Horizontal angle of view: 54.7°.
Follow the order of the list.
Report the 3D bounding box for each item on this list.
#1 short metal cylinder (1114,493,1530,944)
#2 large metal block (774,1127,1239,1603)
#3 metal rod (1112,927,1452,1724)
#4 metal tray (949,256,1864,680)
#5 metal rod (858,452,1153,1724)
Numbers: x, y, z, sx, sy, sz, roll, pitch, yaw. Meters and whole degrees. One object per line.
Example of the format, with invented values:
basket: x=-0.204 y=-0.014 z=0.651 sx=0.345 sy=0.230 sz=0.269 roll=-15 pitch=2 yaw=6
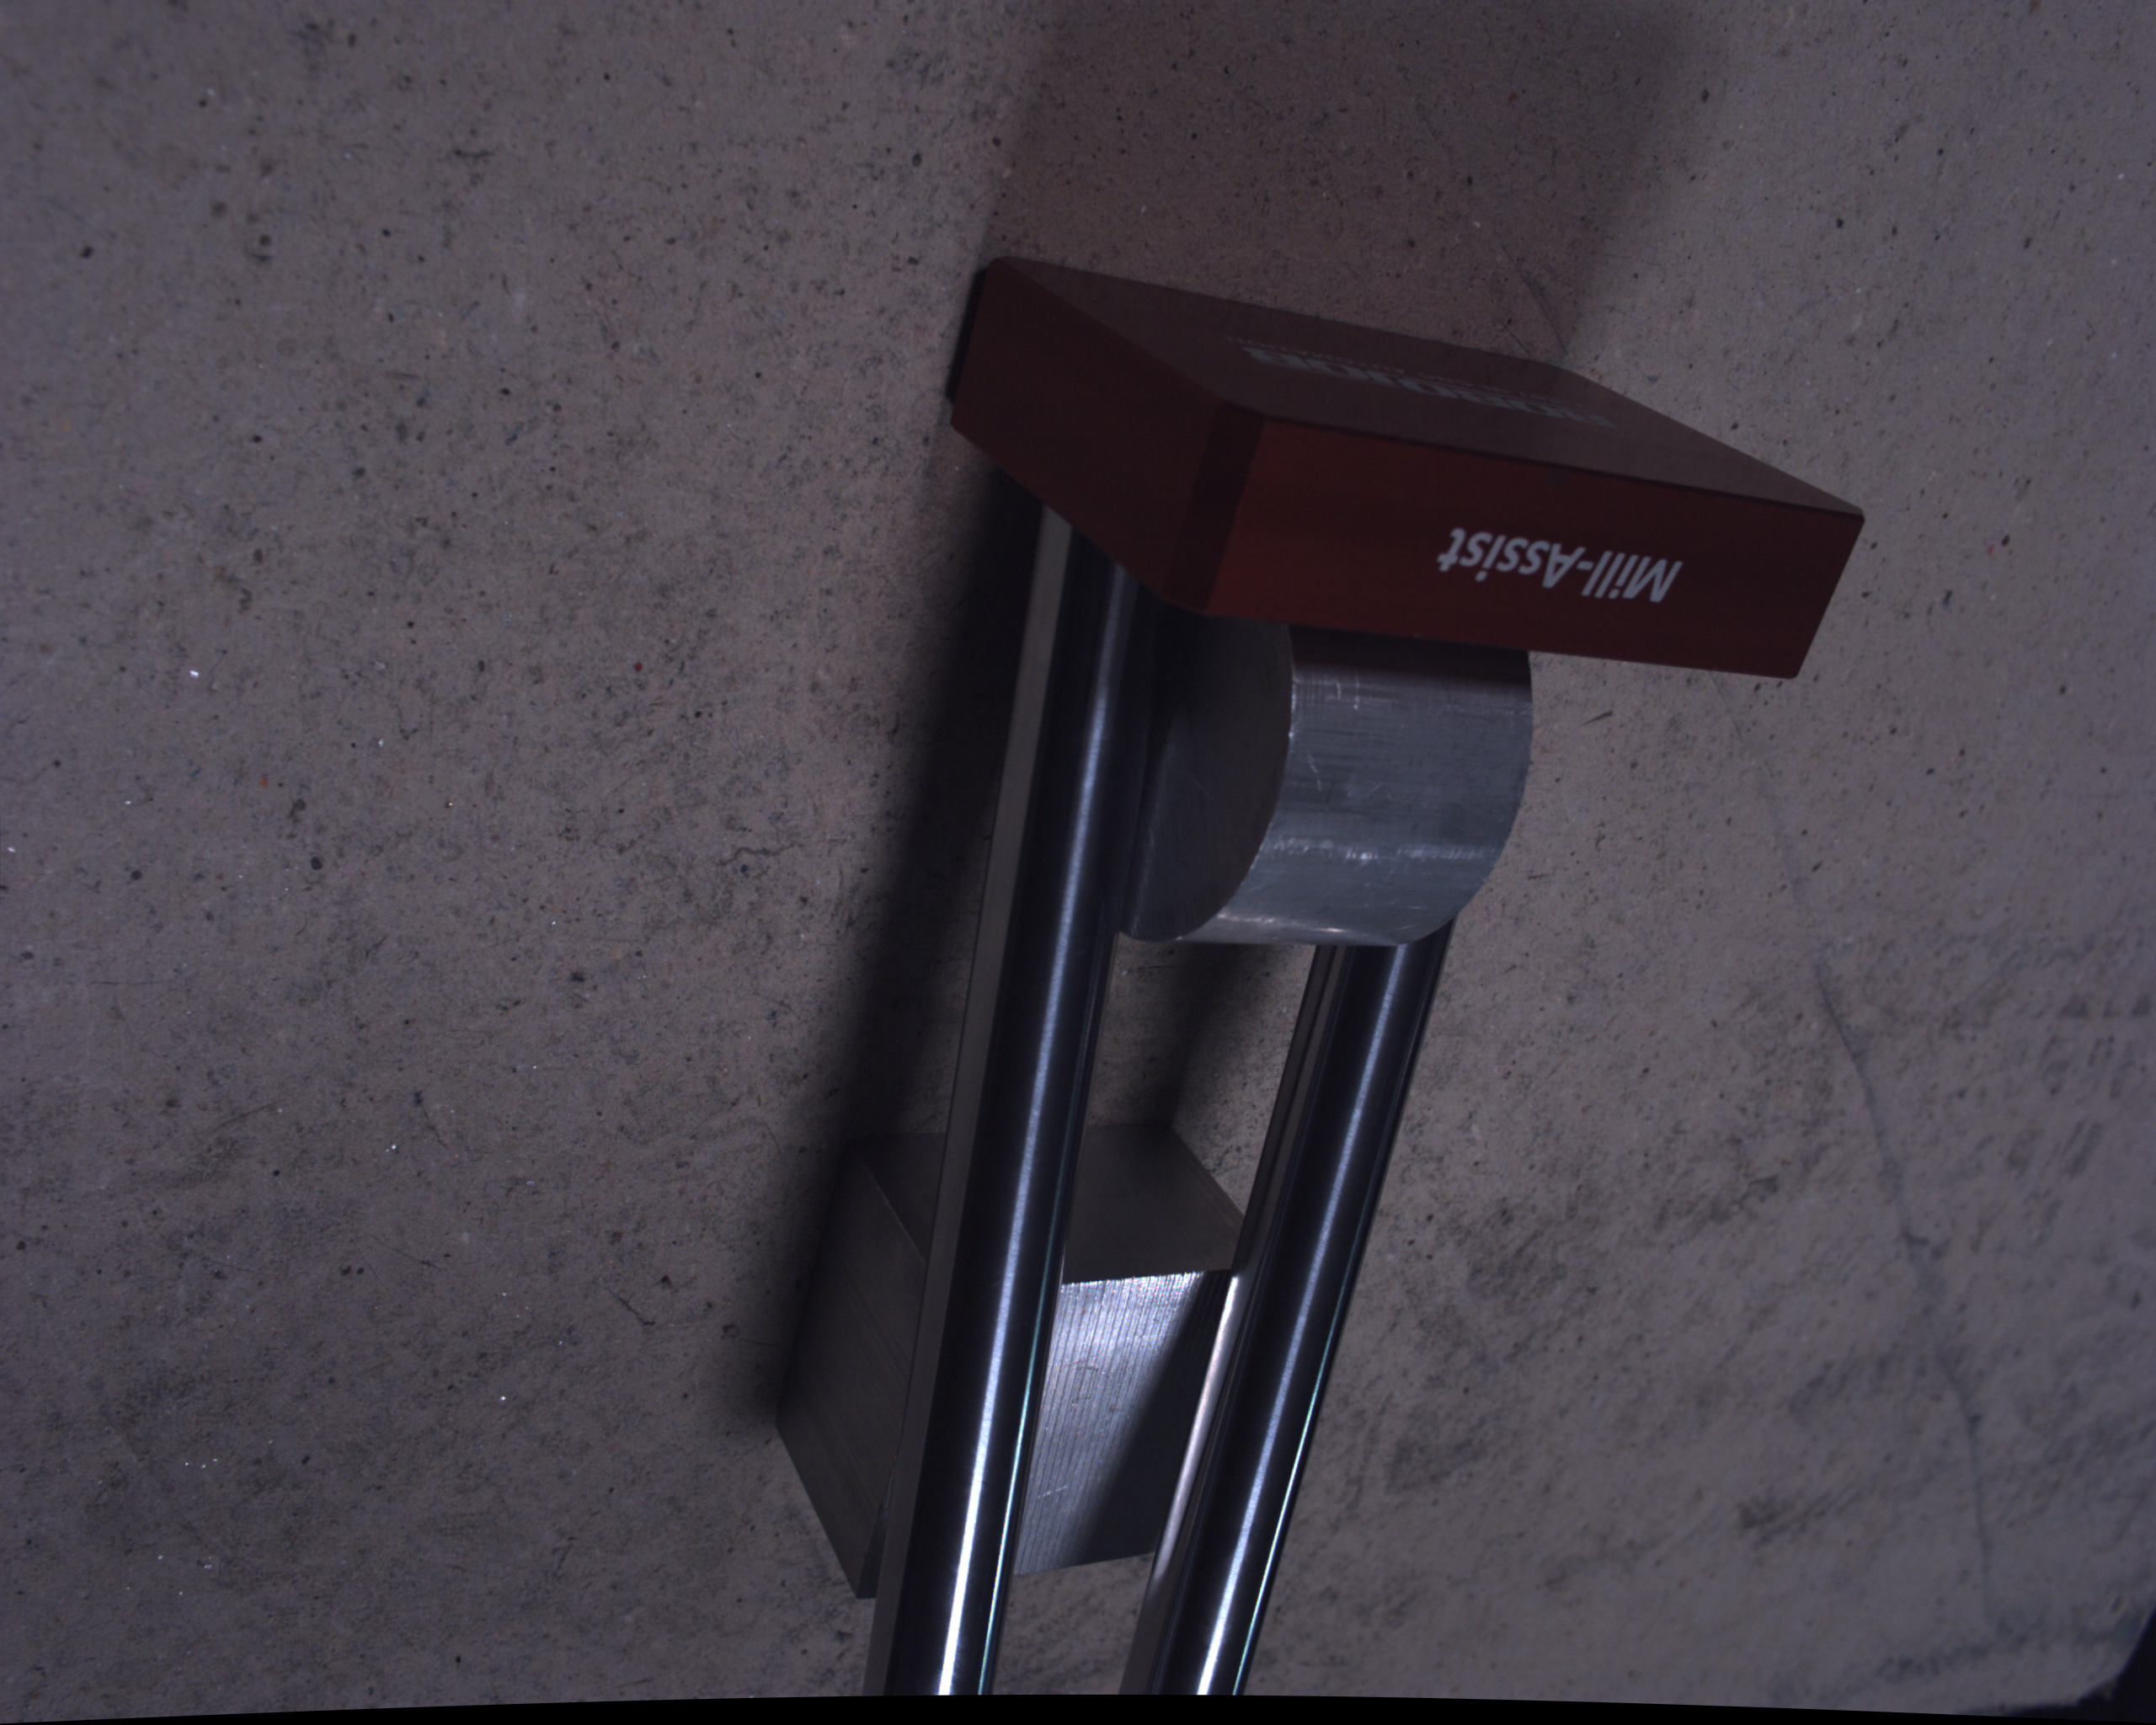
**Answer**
short metal cylinder: x=0.036 y=-0.025 z=0.379 sx=0.050 sy=0.080 sz=0.079 roll=2 pitch=118 yaw=-30
large metal block: x=-0.012 y=0.106 z=0.450 sx=0.081 sy=0.050 sz=0.079 roll=2 pitch=118 yaw=-30
metal rod: x=0.047 y=0.068 z=0.418 sx=0.025 sy=0.025 sz=0.298 roll=9 pitch=99 yaw=-33
metal tray: x=0.055 y=-0.067 z=0.356 sx=0.131 sy=0.090 sz=0.030 roll=2 pitch=117 yaw=-30
metal rod: x=-0.015 y=0.065 z=0.383 sx=0.025 sy=0.025 sz=0.298 roll=2 pitch=102 yaw=-30
